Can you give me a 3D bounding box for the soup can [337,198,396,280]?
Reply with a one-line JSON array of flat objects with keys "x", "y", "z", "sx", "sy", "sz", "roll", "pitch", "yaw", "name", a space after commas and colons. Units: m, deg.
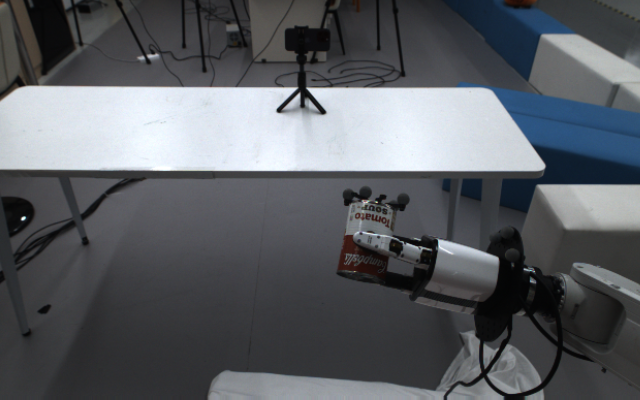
[{"x": 0.066, "y": 0.057, "z": 0.664, "sx": 0.067, "sy": 0.067, "sz": 0.101, "roll": 9, "pitch": 74, "yaw": 9, "name": "soup can"}]
